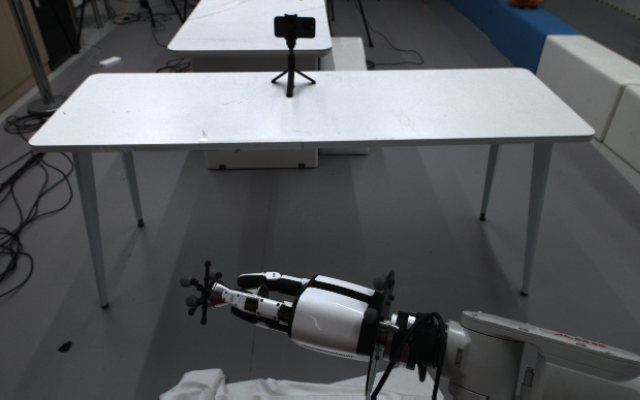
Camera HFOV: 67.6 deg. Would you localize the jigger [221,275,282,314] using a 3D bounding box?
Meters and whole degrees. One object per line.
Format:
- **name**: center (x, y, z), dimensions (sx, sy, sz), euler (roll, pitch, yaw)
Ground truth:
- **jigger**: center (-0.102, 0.128, 0.663), dimensions (0.071, 0.043, 0.043), euler (3, 34, 15)
